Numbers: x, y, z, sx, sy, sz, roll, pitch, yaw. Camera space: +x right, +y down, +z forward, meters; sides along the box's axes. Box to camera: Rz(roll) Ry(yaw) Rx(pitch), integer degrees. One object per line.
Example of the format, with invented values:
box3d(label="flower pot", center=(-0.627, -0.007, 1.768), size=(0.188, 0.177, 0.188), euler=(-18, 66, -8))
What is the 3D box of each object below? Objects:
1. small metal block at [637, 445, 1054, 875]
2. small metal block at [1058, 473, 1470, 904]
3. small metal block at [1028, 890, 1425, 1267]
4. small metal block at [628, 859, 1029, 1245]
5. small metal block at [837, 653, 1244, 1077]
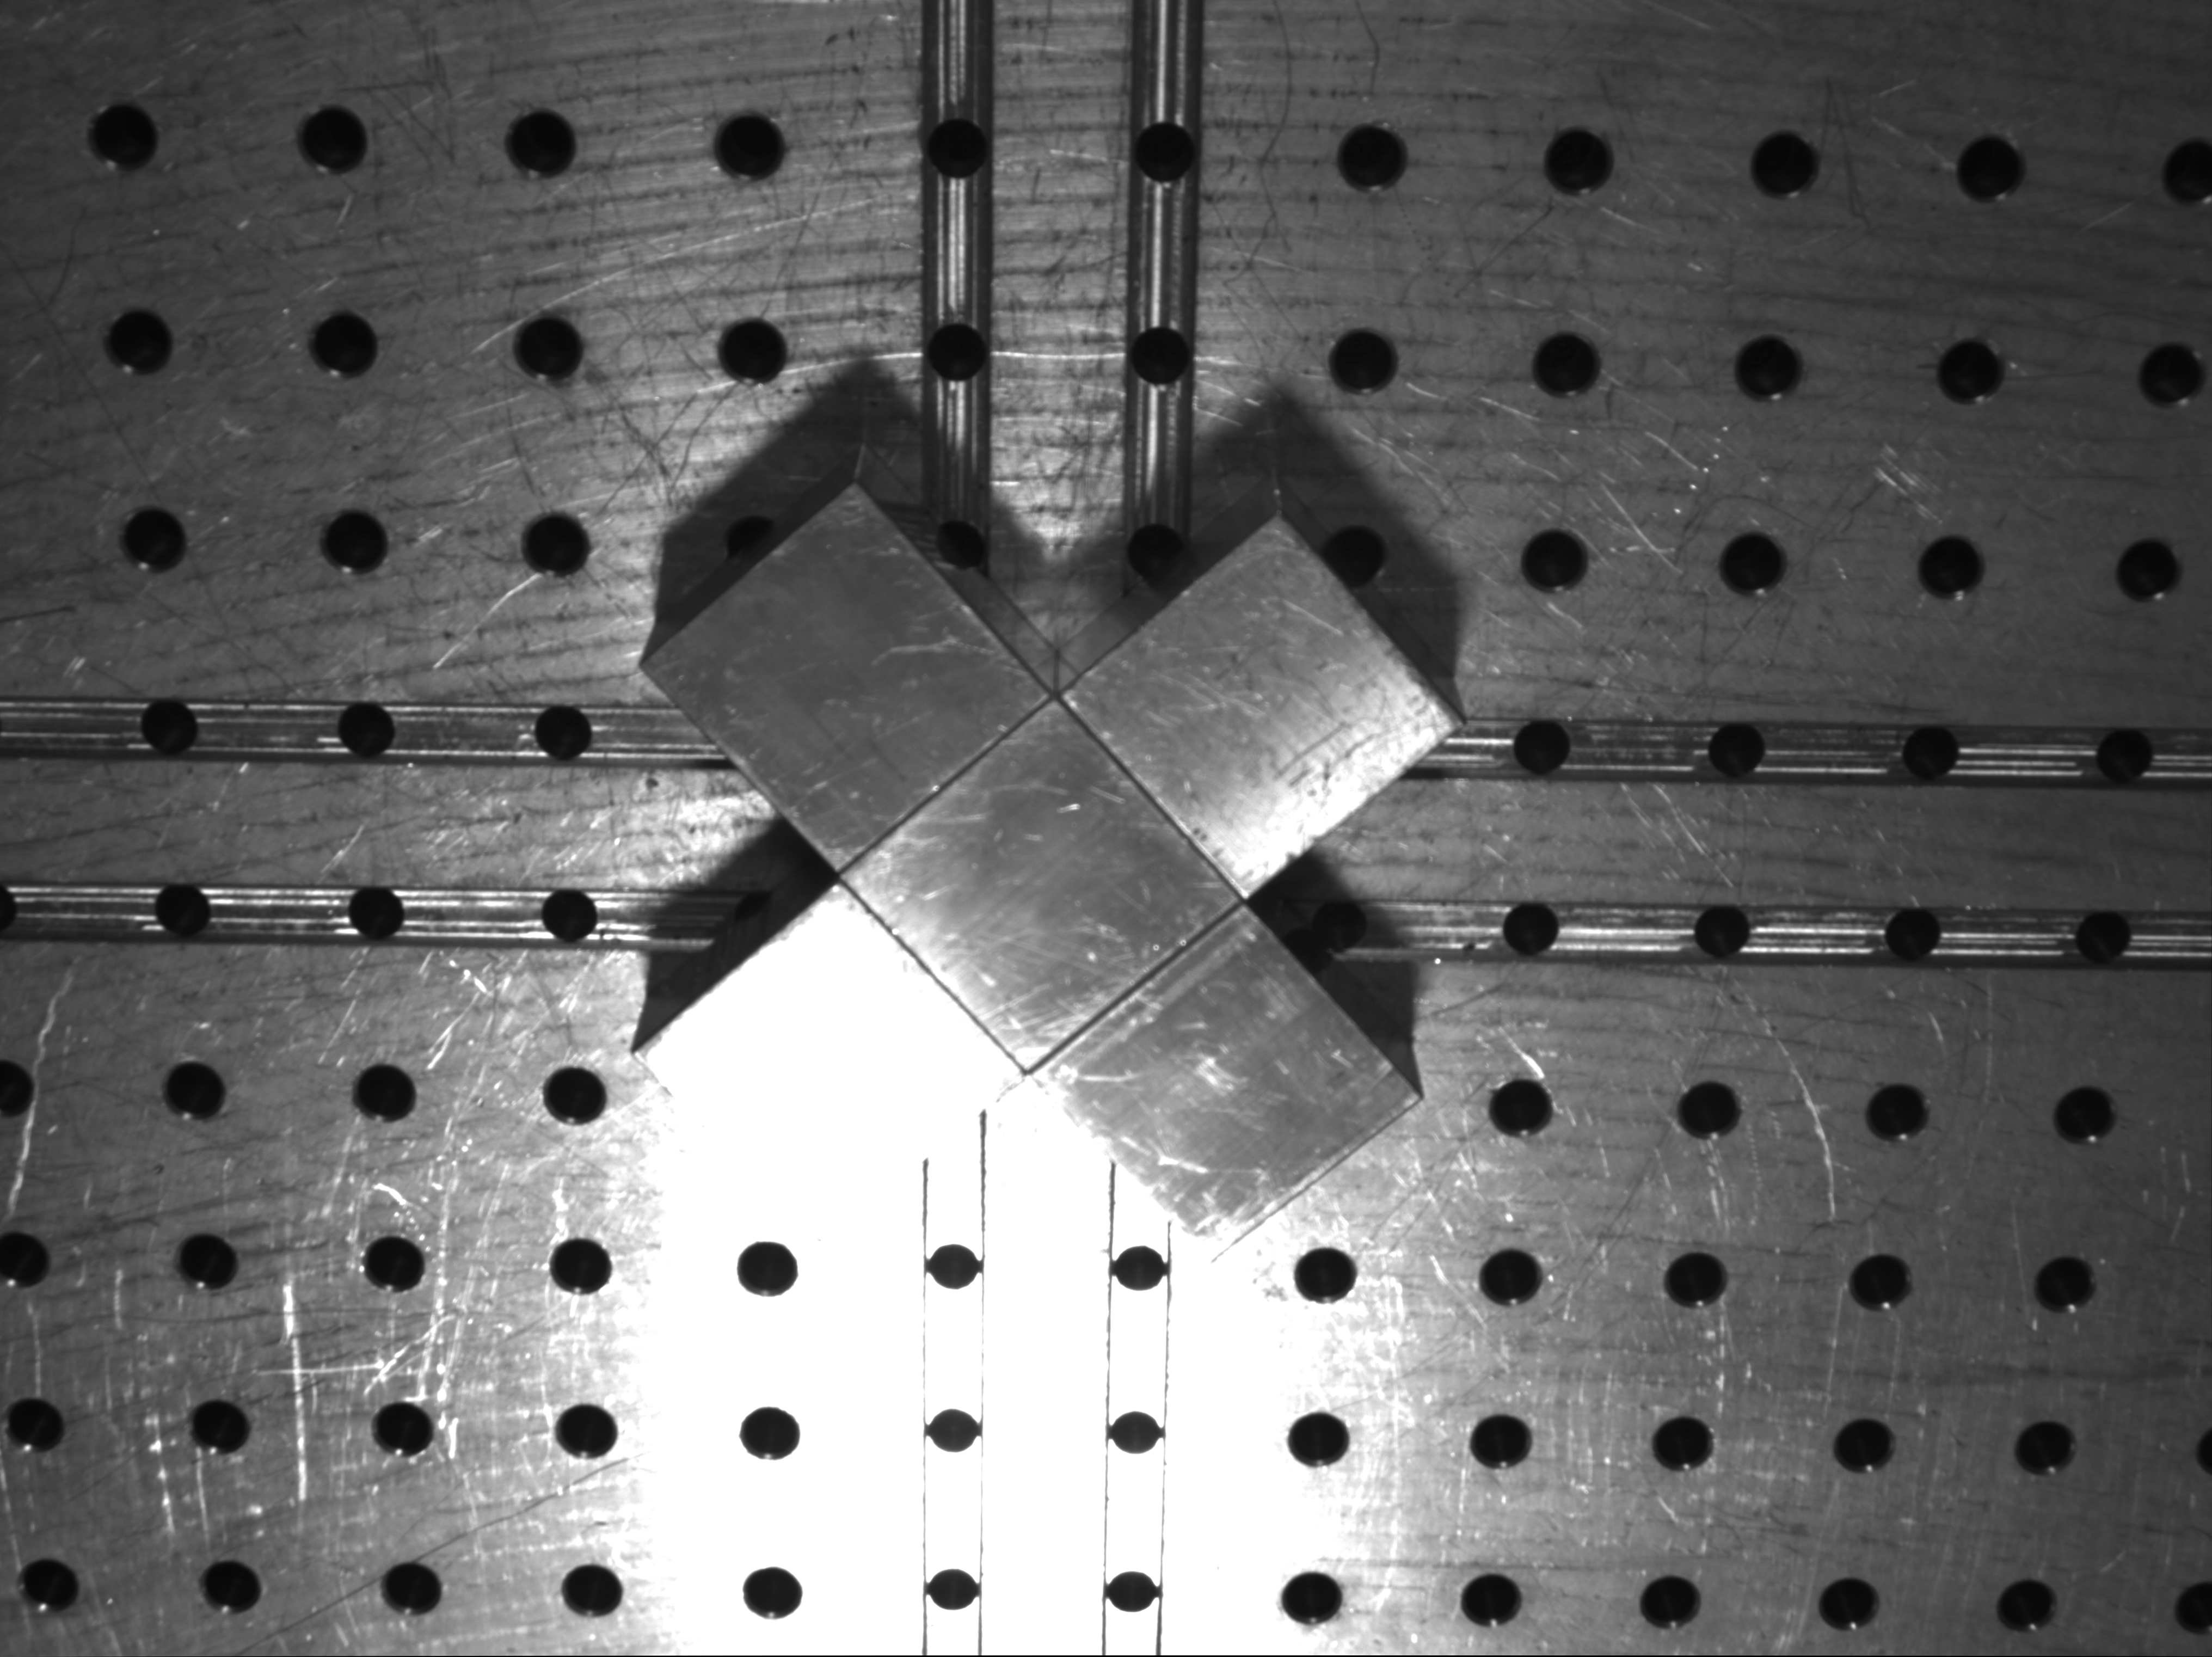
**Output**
box3d(label="small metal block", center=(-0.044, -0.029, 0.634), size=(0.050, 0.025, 0.050), euler=(-39, 106, 12))
box3d(label="small metal block", center=(0.027, -0.024, 0.637), size=(0.050, 0.025, 0.050), euler=(-39, 106, 12))
box3d(label="small metal block", center=(0.021, 0.042, 0.661), size=(0.050, 0.025, 0.050), euler=(-39, 106, 12))
box3d(label="small metal block", center=(-0.049, 0.037, 0.659), size=(0.050, 0.025, 0.050), euler=(-39, 106, 12))
box3d(label="small metal block", center=(-0.011, 0.007, 0.647), size=(0.050, 0.025, 0.050), euler=(-39, 106, 12))
